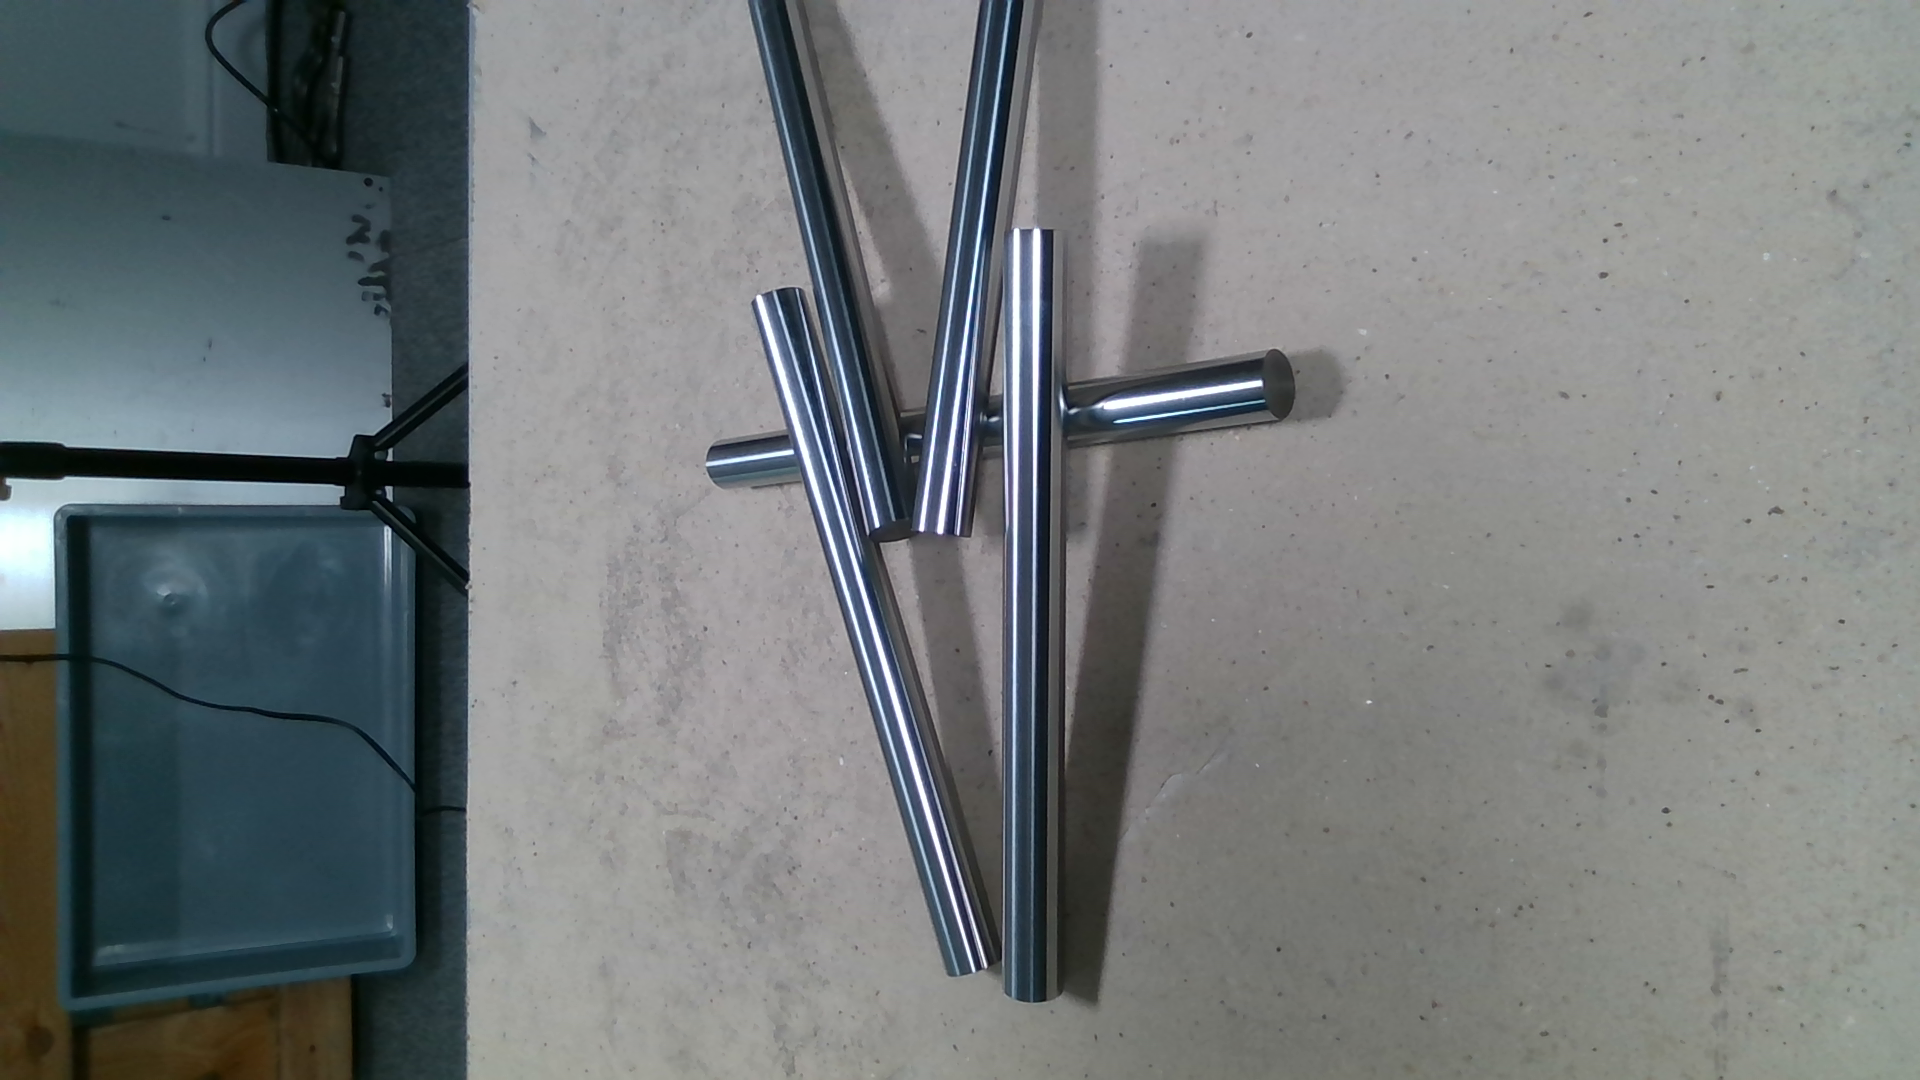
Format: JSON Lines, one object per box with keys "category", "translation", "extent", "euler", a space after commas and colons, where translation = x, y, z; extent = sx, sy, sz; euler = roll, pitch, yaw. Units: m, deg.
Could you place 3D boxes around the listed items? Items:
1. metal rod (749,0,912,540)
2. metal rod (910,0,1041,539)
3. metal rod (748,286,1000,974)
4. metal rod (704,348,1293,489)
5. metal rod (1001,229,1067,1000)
{"category": "metal rod", "translation": [-0.059, -0.142, 0.613], "extent": [0.025, 0.025, 0.299], "euler": [-28, 67, 37]}
{"category": "metal rod", "translation": [0.012, -0.151, 0.552], "extent": [0.025, 0.025, 0.300], "euler": [7, 89, 40]}
{"category": "metal rod", "translation": [-0.038, 0.036, 0.594], "extent": [0.025, 0.025, 0.300], "euler": [-21, 83, 38]}
{"category": "metal rod", "translation": [-0.002, -0.046, 0.583], "extent": [0.300, 0.025, 0.025], "euler": [-4, 87, 40]}
{"category": "metal rod", "translation": [0.028, 0.033, 0.537], "extent": [0.025, 0.025, 0.300], "euler": [7, 101, 40]}
